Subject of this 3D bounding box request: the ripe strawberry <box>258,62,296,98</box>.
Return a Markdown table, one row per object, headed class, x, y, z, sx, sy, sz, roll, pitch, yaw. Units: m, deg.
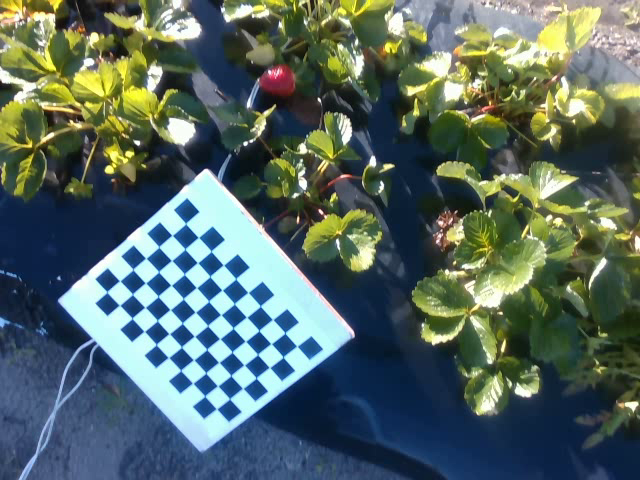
| class | x | y | z | sx | sy | sz | roll | pitch | yaw |
| --- | --- | --- | --- | --- | --- | --- | --- | --- | --- |
| ripe strawberry | -0.065 | -0.256 | 0.973 | 0.080 | 0.063 | 0.040 | -19 | 10 | -34 |
